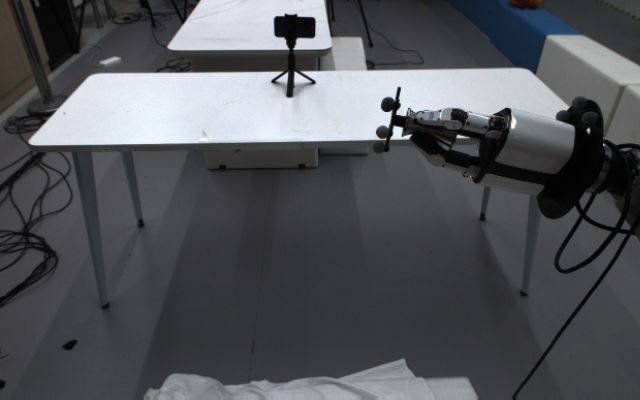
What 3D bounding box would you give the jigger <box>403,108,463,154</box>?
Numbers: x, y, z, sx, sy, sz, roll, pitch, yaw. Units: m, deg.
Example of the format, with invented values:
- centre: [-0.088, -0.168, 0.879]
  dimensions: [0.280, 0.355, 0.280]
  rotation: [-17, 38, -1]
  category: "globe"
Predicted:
- centre: [0.154, -0.101, 0.651]
  dimensions: [0.071, 0.043, 0.043]
  rotation: [13, 36, 3]
  category: "jigger"
